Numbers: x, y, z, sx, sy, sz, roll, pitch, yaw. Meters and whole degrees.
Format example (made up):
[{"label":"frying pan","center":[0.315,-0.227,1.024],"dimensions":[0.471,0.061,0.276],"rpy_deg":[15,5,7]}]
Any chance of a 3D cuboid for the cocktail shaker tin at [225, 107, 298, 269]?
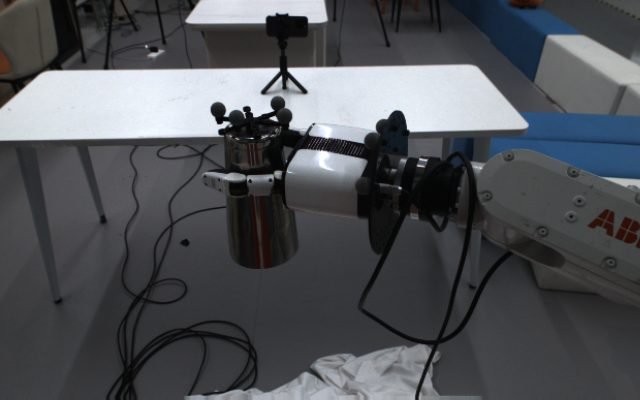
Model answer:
[{"label":"cocktail shaker tin","center":[-0.072,-0.012,0.600],"dimensions":[0.093,0.170,0.093],"rpy_deg":[-1,32,1]}]
